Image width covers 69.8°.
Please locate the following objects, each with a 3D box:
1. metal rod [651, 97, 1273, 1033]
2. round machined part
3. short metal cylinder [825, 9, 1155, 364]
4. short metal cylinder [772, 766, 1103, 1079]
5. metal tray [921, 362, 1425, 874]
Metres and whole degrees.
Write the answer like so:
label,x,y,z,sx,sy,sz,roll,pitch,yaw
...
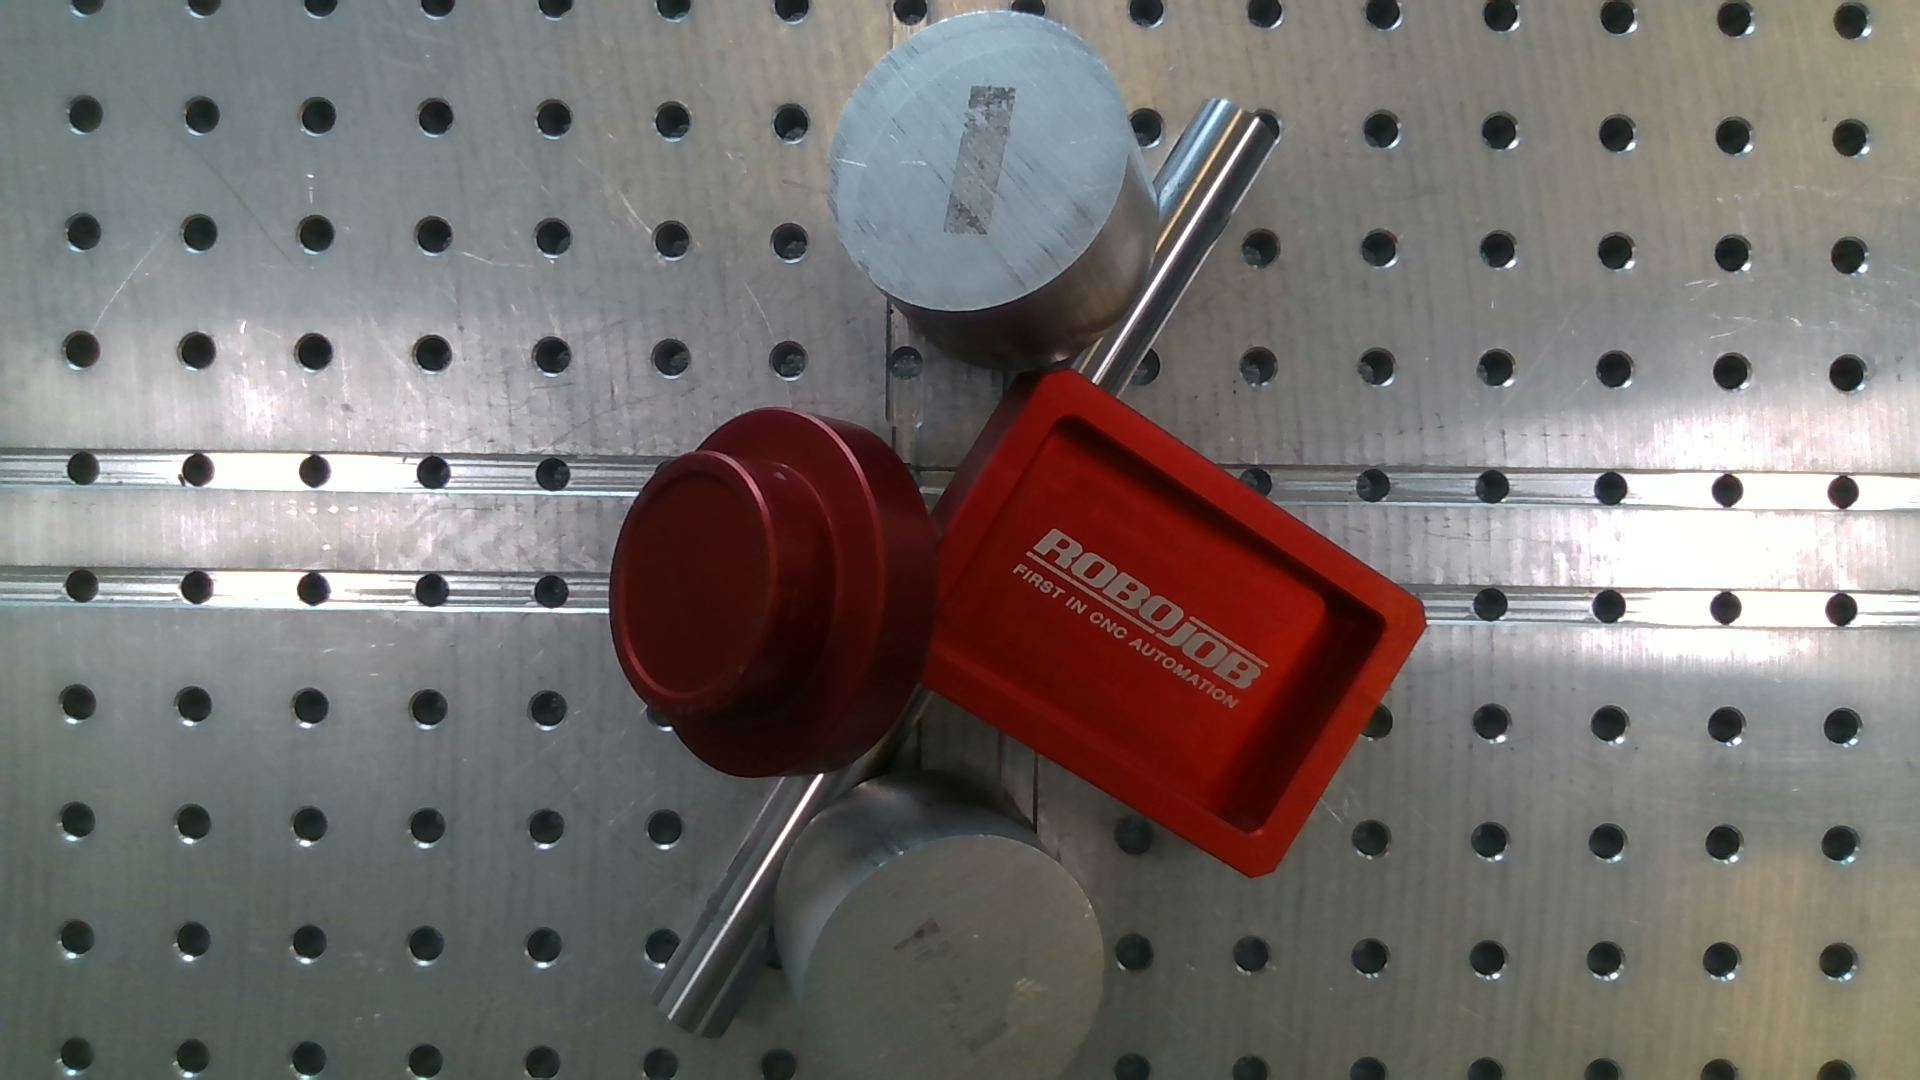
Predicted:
label,x,y,z,sx,sy,sz,roll,pitch,yaw
metal rod,0.001,0.007,0.398,0.025,0.025,0.300,32,90,0
round machined part,-0.056,0.012,0.362,0.098,0.042,0.098,-7,80,42
short metal cylinder,0.010,-0.093,0.373,0.080,0.050,0.080,-3,79,16
short metal cylinder,-0.008,0.108,0.374,0.080,0.050,0.080,-3,102,-16
metal tray,0.052,0.022,0.381,0.130,0.030,0.090,32,90,-13
